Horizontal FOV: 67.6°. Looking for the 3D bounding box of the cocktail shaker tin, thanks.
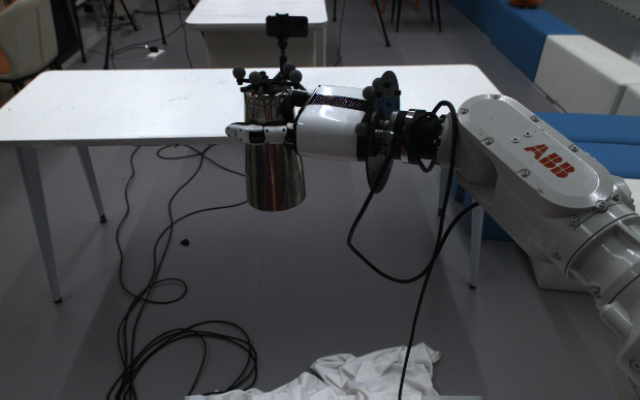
[{"bbox_3d":[-0.066,-0.082,0.701,0.093,0.170,0.093,-1,32,1],"label":"cocktail shaker tin"}]
